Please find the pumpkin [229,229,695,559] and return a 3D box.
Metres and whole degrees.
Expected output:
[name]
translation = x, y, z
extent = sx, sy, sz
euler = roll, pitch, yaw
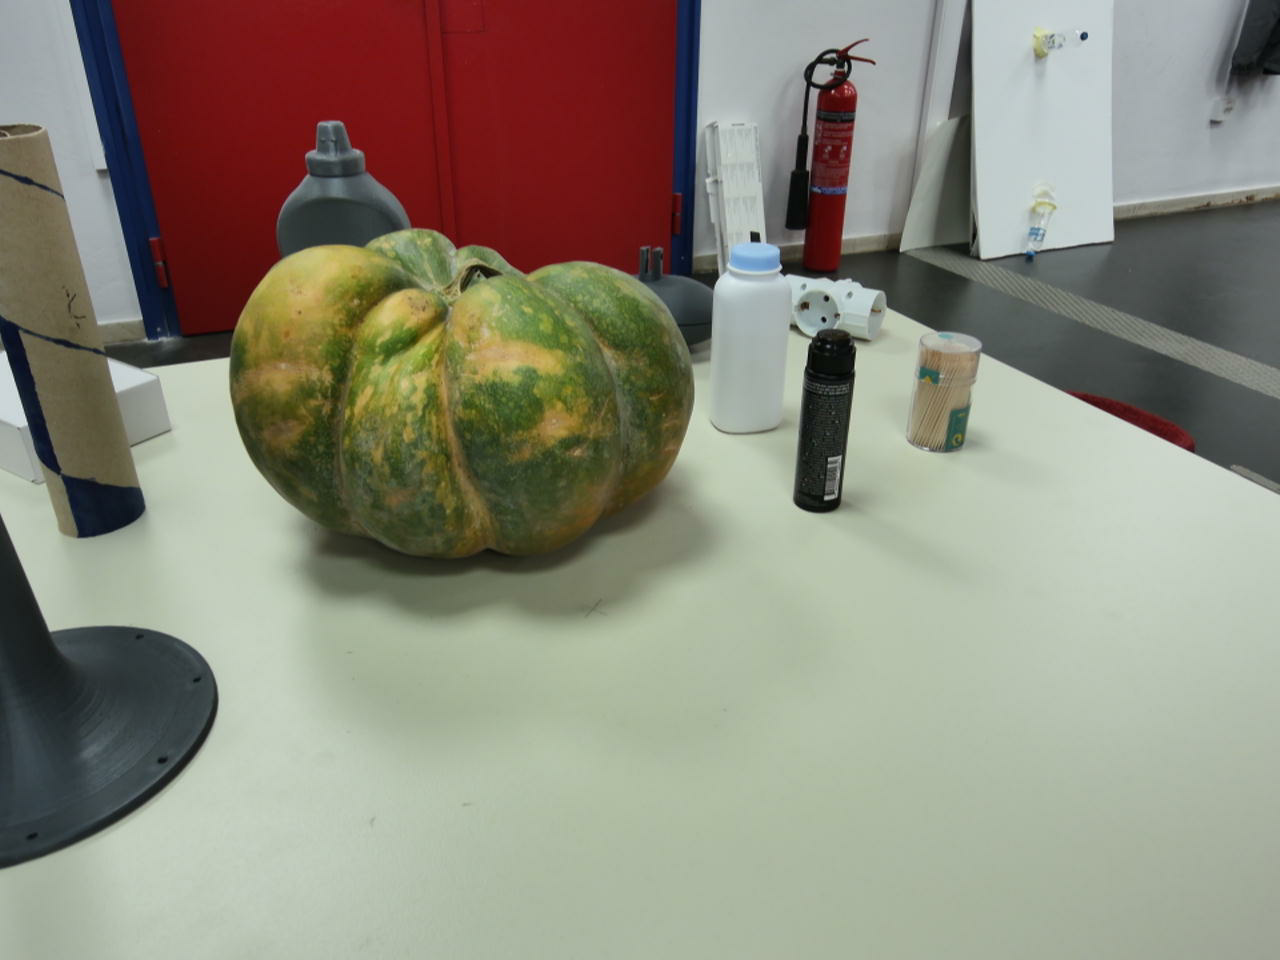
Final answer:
[pumpkin]
translation = -0.102, -0.059, 0.579
extent = 0.270, 0.173, 0.237
euler = 6, 27, 11
